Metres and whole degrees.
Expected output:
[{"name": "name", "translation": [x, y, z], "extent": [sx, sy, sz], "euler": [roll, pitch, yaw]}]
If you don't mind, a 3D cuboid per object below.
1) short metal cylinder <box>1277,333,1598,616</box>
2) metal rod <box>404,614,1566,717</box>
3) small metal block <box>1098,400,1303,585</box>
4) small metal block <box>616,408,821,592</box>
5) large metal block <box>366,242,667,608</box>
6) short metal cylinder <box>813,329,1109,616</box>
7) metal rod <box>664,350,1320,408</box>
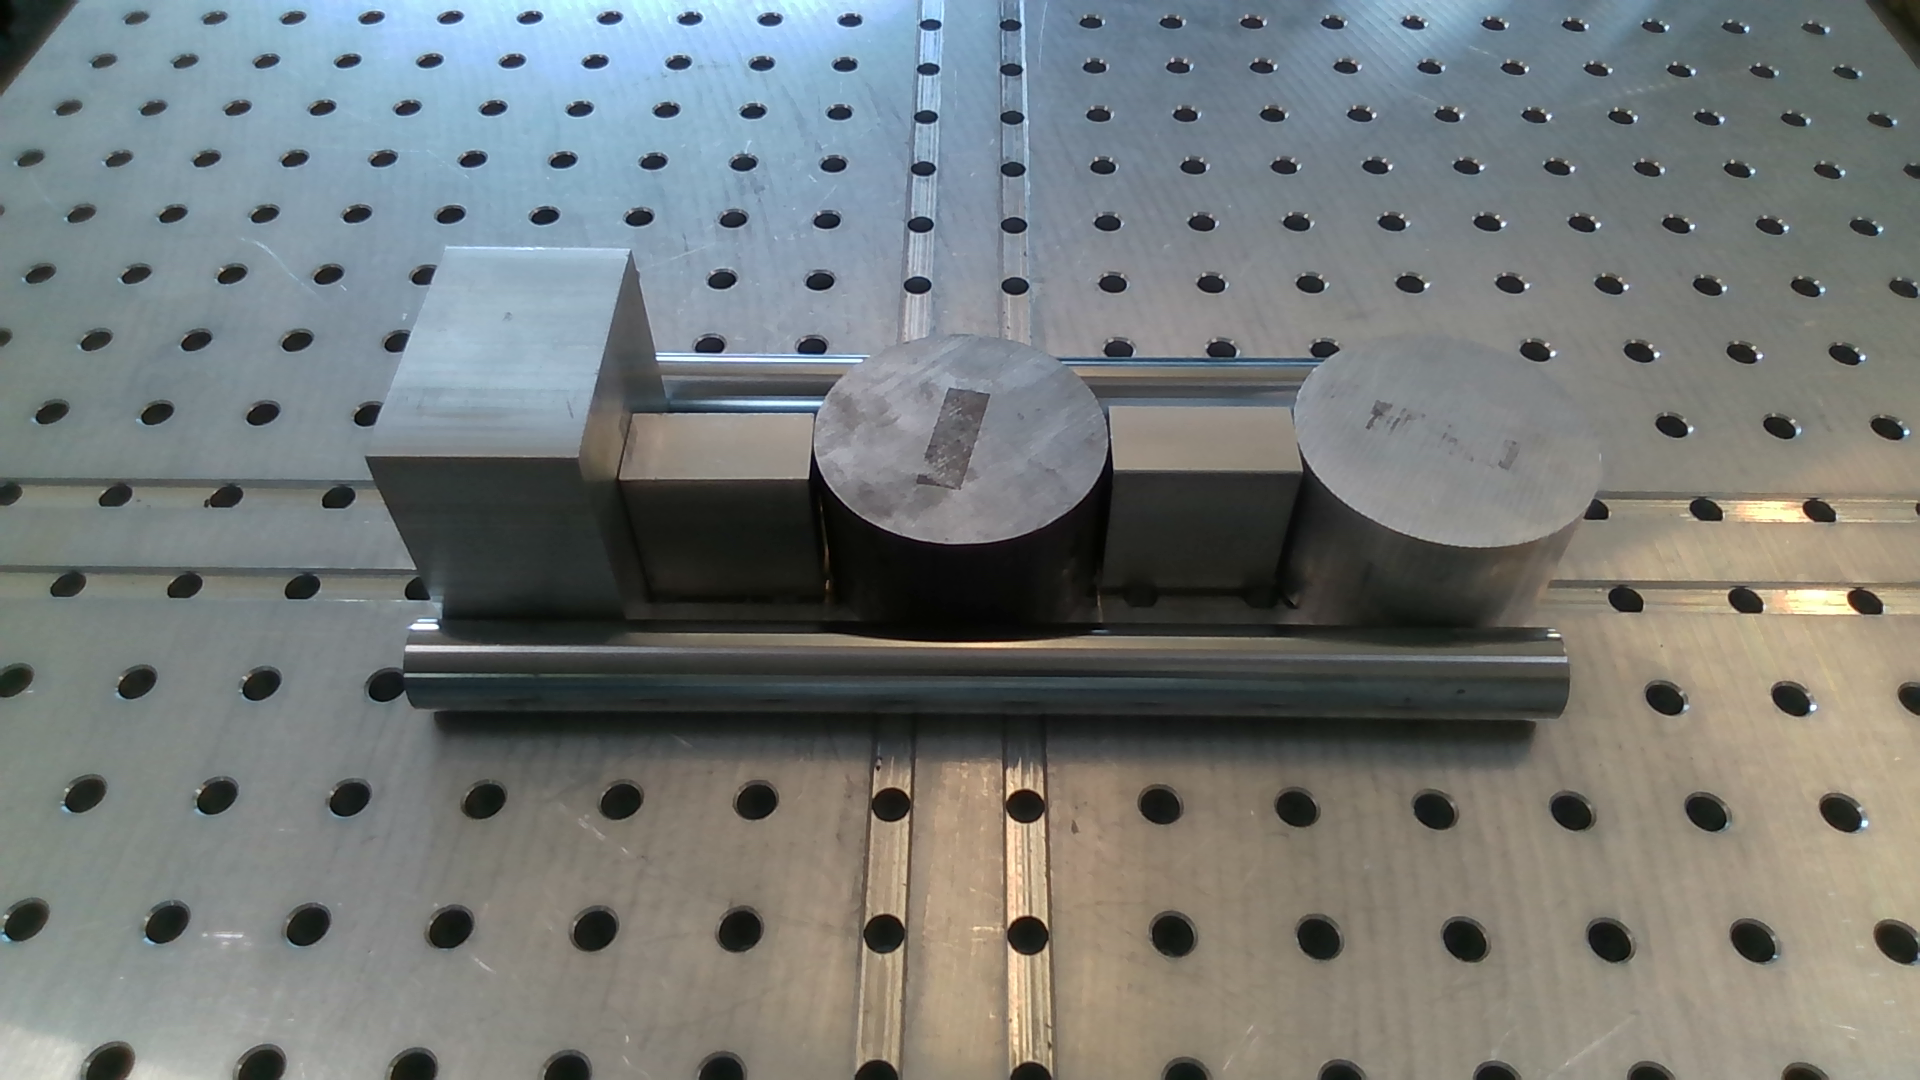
[{"name": "short metal cylinder", "translation": [0.131, -0.013, 0.391], "extent": [0.080, 0.050, 0.080], "euler": [0, 50, 0]}, {"name": "metal rod", "translation": [0.006, 0.034, 0.368], "extent": [0.300, 0.025, 0.025], "euler": [0, 50, 0]}, {"name": "small metal block", "translation": [0.066, -0.013, 0.390], "extent": [0.050, 0.050, 0.025], "euler": [0, 50, 0]}, {"name": "small metal block", "translation": [-0.065, -0.011, 0.388], "extent": [0.050, 0.050, 0.025], "euler": [0, 50, 0]}, {"name": "large metal block", "translation": [-0.115, -0.025, 0.382], "extent": [0.050, 0.080, 0.080], "euler": [0, 50, 0]}, {"name": "short metal cylinder", "translation": [0.000, -0.014, 0.392], "extent": [0.080, 0.050, 0.080], "euler": [0, 50, 0]}, {"name": "metal rod", "translation": [0.006, -0.047, 0.435], "extent": [0.300, 0.025, 0.025], "euler": [0, 50, 0]}]
